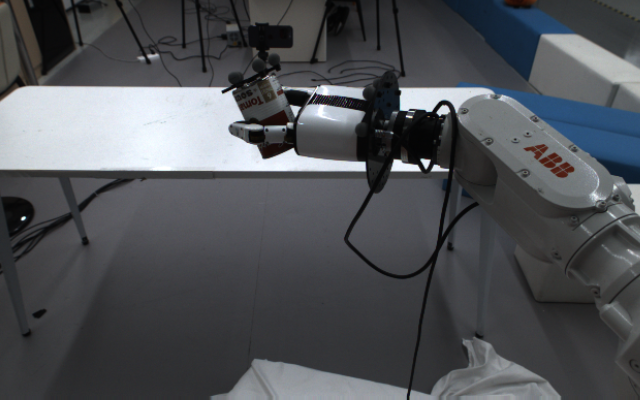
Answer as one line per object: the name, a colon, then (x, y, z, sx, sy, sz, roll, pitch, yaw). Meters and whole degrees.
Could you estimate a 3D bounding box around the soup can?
soup can: (-0.072, -0.117, 0.679, 0.067, 0.101, 0.067, -23, 16, 7)
